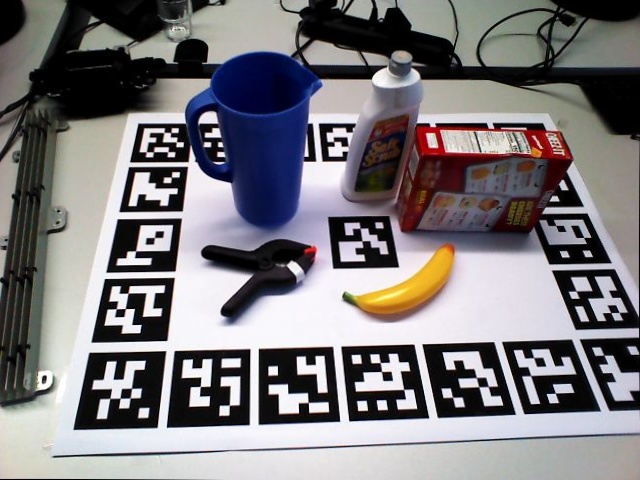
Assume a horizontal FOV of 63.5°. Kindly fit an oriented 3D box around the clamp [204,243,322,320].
[{"bbox_3d":[-0.075,0.045,0.754,0.165,0.037,0.121,-14,52,-15],"label":"clamp"}]

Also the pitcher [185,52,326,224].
[{"bbox_3d":[-0.088,-0.135,0.737,0.188,0.244,0.133,-15,53,-18],"label":"pitcher"}]

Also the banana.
[{"bbox_3d":[0.147,0.064,0.759,0.196,0.039,0.074,-30,58,-23],"label":"banana"}]

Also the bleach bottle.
[{"bbox_3d":[0.096,-0.158,0.789,0.103,0.252,0.067,-1,51,-4],"label":"bleach bottle"}]

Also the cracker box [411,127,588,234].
[{"bbox_3d":[0.253,-0.086,0.774,0.214,0.165,0.071,-1,49,-1],"label":"cracker box"}]
